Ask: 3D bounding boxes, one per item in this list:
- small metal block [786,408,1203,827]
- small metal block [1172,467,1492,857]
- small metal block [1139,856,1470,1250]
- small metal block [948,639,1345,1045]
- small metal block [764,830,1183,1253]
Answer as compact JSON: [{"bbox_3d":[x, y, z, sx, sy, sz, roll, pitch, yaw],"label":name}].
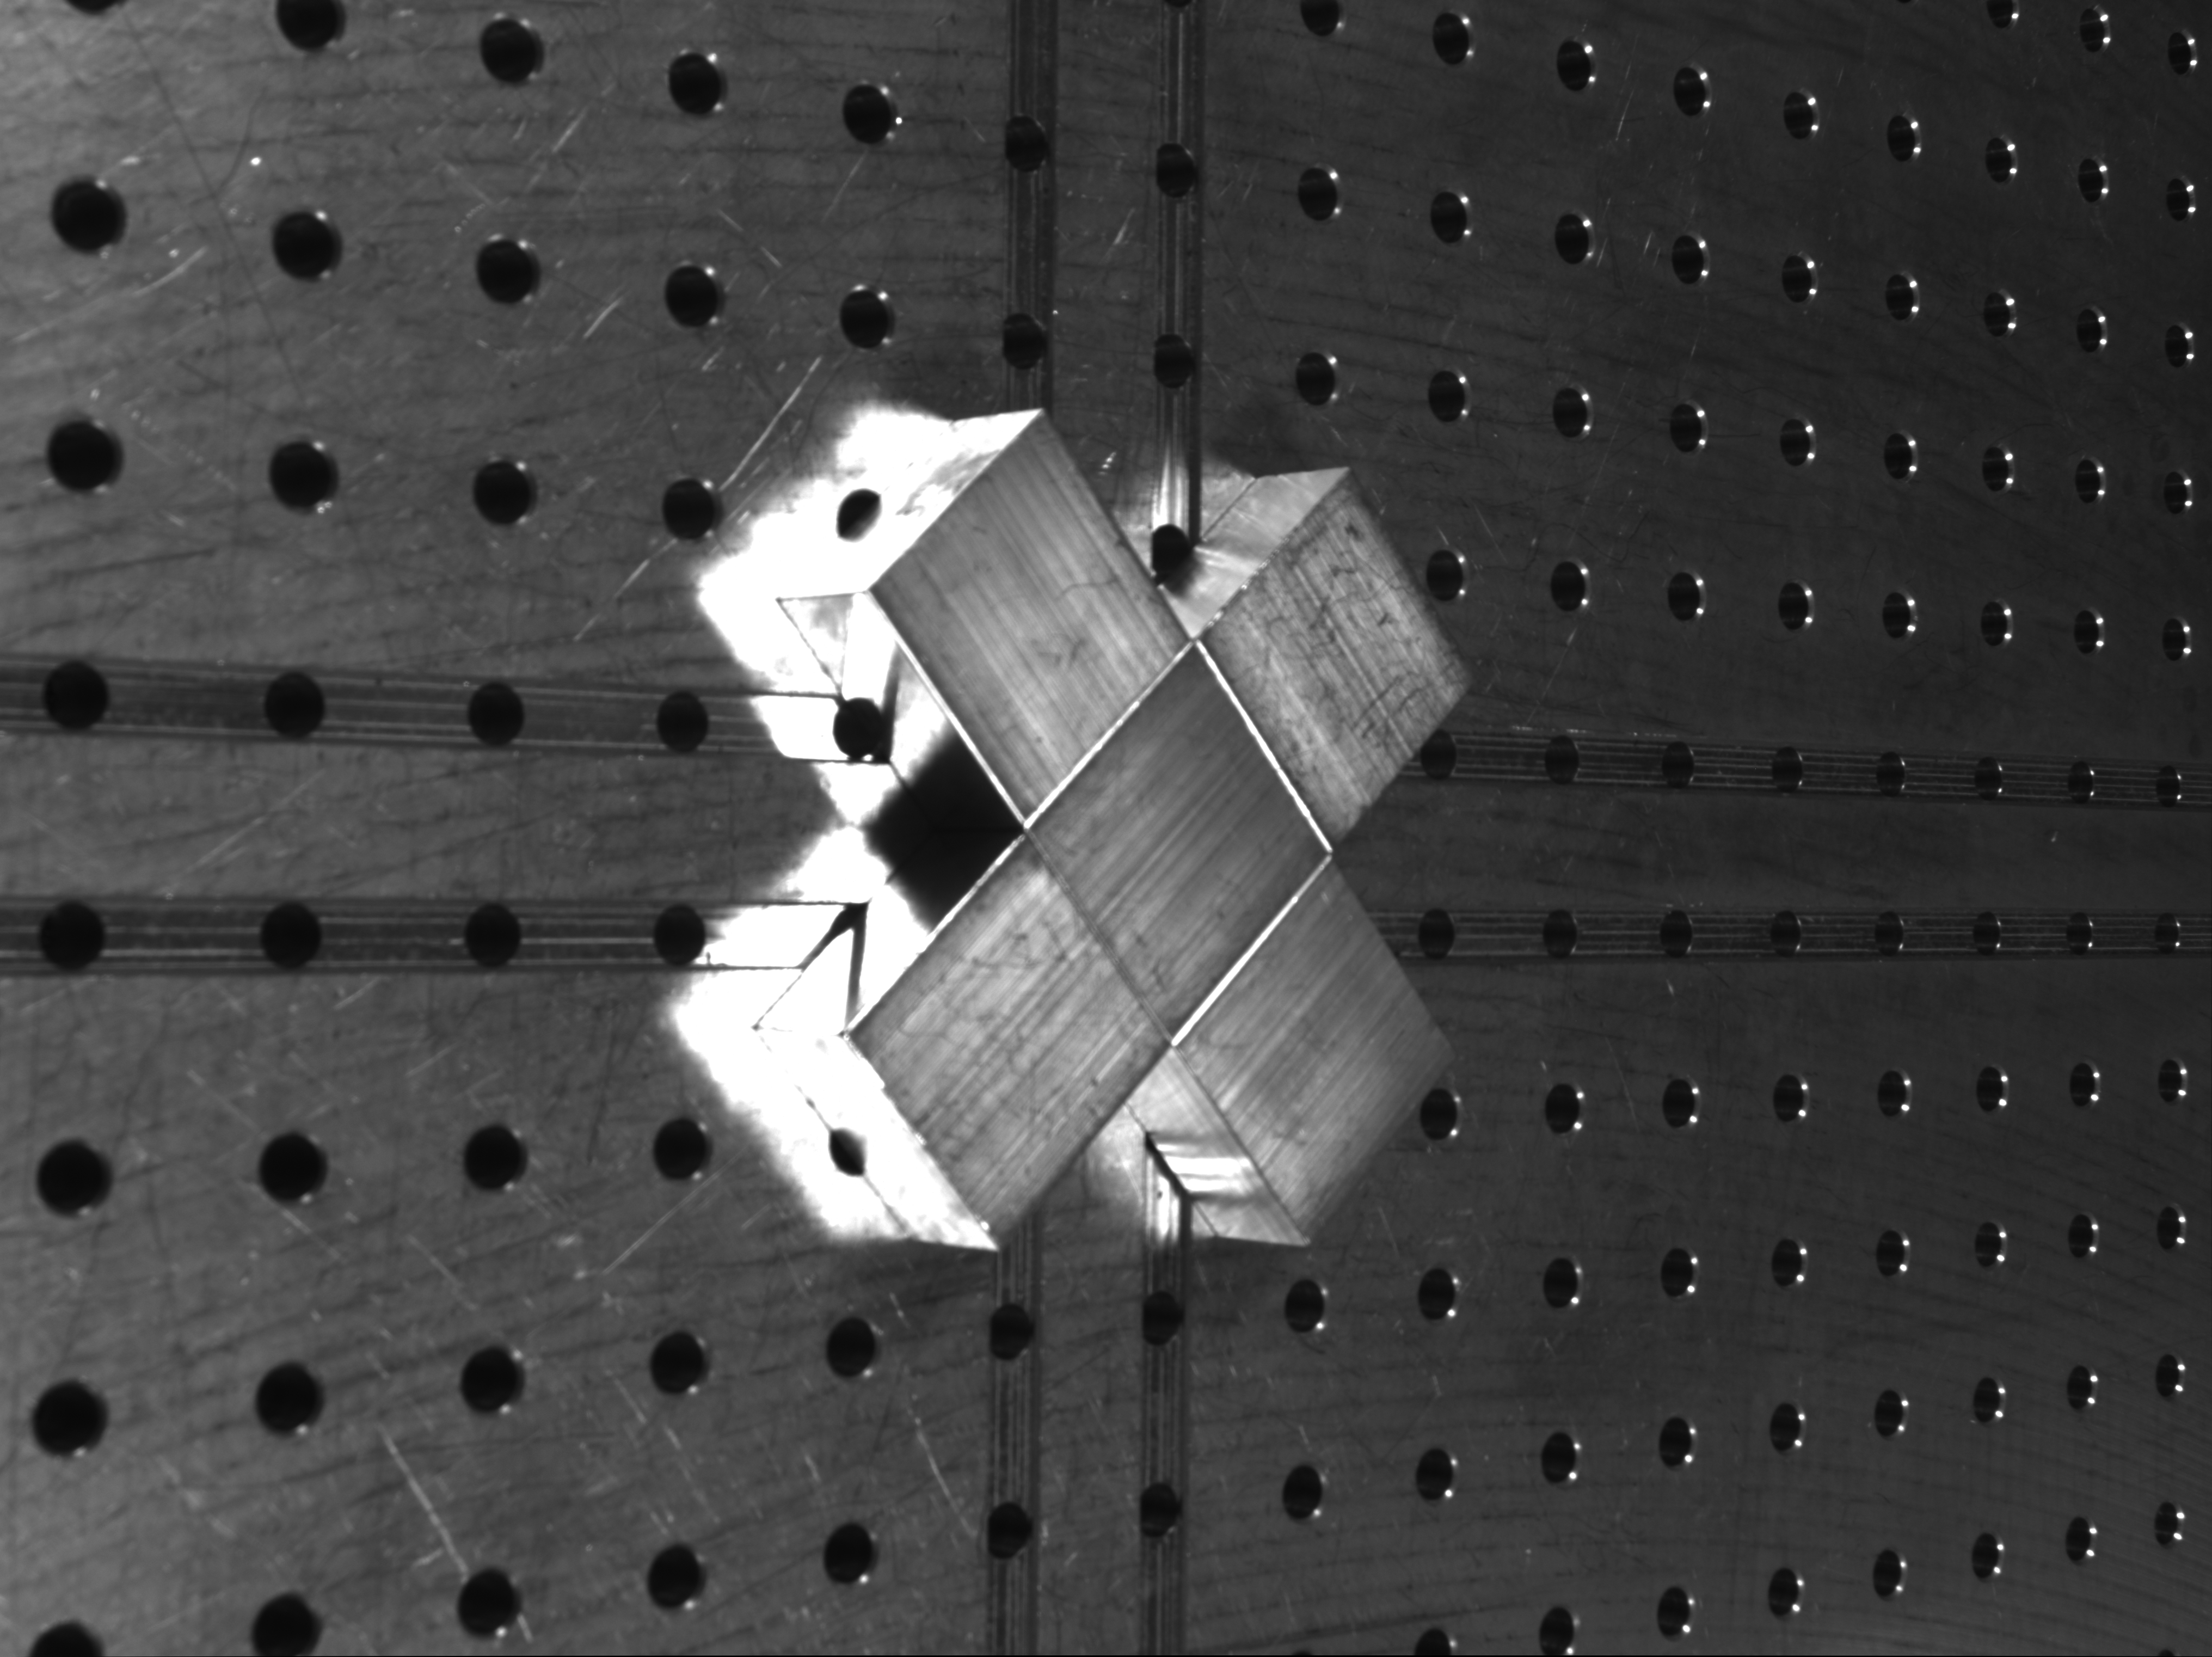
[{"bbox_3d":[-0.018,-0.036,0.625,0.050,0.025,0.050,-48,119,-29],"label":"small metal block"},{"bbox_3d":[0.037,-0.030,0.671,0.050,0.025,0.050,-49,119,-29],"label":"small metal block"},{"bbox_3d":[0.033,0.040,0.667,0.050,0.025,0.050,-48,119,-29],"label":"small metal block"},{"bbox_3d":[0.008,0.002,0.645,0.050,0.025,0.050,-49,119,-29],"label":"small metal block"},{"bbox_3d":[-0.022,0.036,0.622,0.050,0.025,0.050,-49,119,-29],"label":"small metal block"}]
